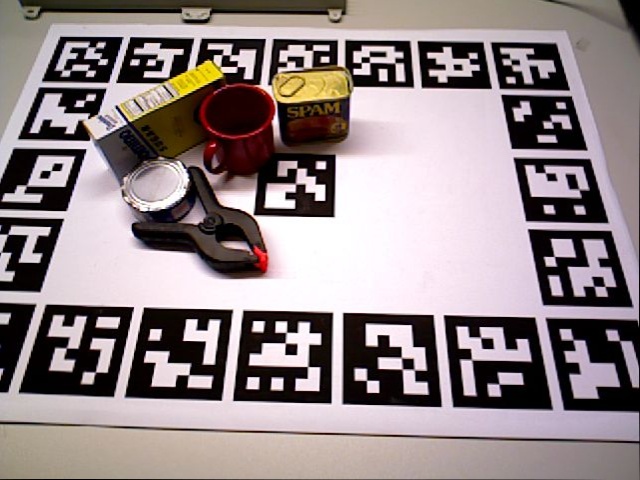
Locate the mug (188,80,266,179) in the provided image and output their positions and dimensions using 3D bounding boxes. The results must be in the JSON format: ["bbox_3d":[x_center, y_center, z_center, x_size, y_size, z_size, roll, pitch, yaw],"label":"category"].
[{"bbox_3d":[-0.116,-0.126,0.671,0.093,0.083,0.115,24,65,12],"label":"mug"}]

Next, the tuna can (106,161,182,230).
[{"bbox_3d":[-0.213,-0.052,0.661,0.085,0.034,0.084,-1,62,0],"label":"tuna can"}]

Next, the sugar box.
[{"bbox_3d":[-0.208,-0.139,0.683,0.174,0.094,0.045,-32,63,-18],"label":"sugar box"}]

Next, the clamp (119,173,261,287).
[{"bbox_3d":[-0.136,0.000,0.637,0.165,0.037,0.119,34,62,13],"label":"clamp"}]

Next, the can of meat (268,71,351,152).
[{"bbox_3d":[-0.016,-0.163,0.700,0.101,0.085,0.057,-6,59,-5],"label":"can of meat"}]
